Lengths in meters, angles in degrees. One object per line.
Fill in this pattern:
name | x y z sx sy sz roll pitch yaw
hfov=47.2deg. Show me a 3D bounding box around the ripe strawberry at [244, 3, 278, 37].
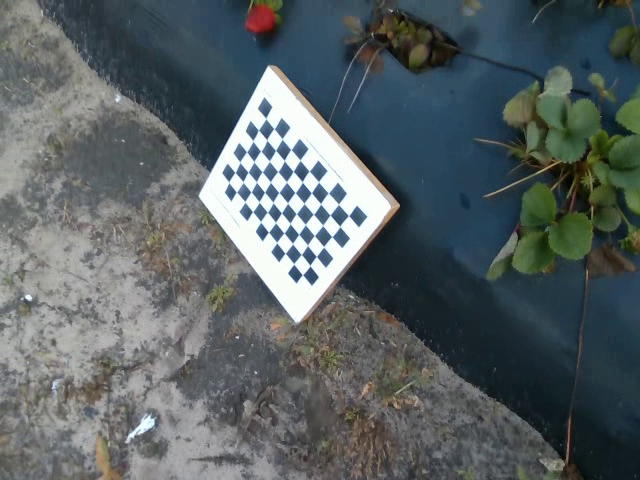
ripe strawberry | -0.089 -0.318 1.081 0.045 0.042 0.055 -1 37 43
